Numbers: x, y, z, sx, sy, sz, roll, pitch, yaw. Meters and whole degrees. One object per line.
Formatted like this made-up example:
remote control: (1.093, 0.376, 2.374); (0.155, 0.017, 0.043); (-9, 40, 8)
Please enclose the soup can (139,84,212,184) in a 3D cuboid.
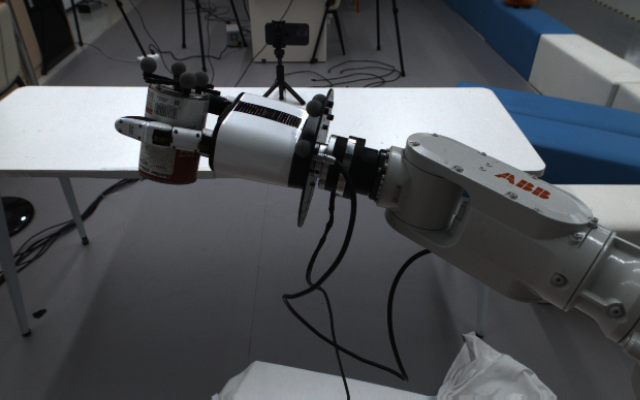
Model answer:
soup can: (-0.165, -0.075, 0.548); (0.067, 0.101, 0.067); (13, 18, -4)
